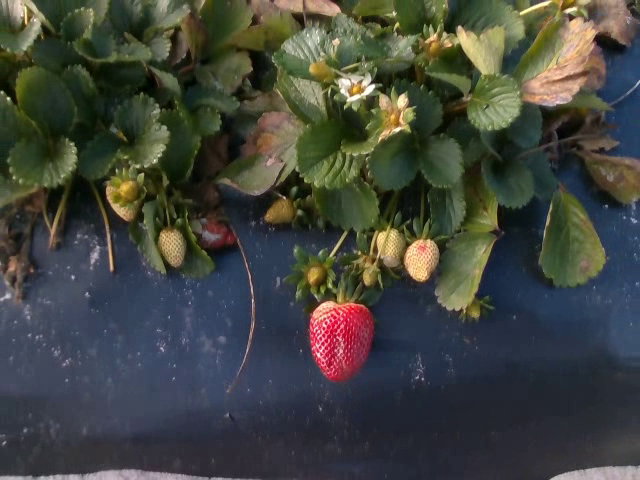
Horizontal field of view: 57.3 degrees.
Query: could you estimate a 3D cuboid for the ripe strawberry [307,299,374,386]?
[{"bbox_3d":[0.016,0.079,0.456,0.052,0.068,0.045,3,-33,-4],"label":"ripe strawberry"}]
